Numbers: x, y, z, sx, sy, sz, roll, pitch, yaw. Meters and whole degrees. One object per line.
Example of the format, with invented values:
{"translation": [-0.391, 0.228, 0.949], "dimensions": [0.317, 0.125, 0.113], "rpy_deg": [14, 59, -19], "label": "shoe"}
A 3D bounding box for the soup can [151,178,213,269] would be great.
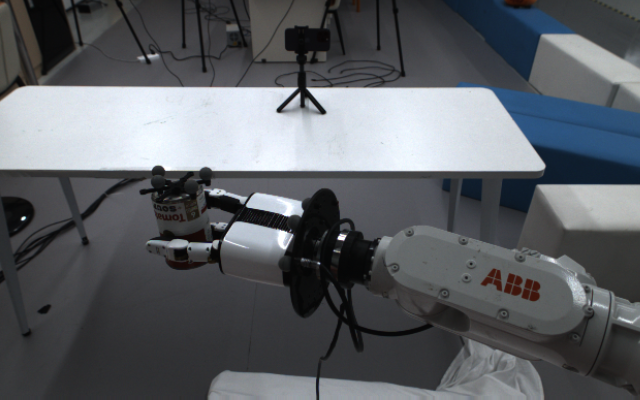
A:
{"translation": [-0.179, 0.034, 0.644], "dimensions": [0.067, 0.101, 0.067], "rpy_deg": [-3, 26, 2], "label": "soup can"}
